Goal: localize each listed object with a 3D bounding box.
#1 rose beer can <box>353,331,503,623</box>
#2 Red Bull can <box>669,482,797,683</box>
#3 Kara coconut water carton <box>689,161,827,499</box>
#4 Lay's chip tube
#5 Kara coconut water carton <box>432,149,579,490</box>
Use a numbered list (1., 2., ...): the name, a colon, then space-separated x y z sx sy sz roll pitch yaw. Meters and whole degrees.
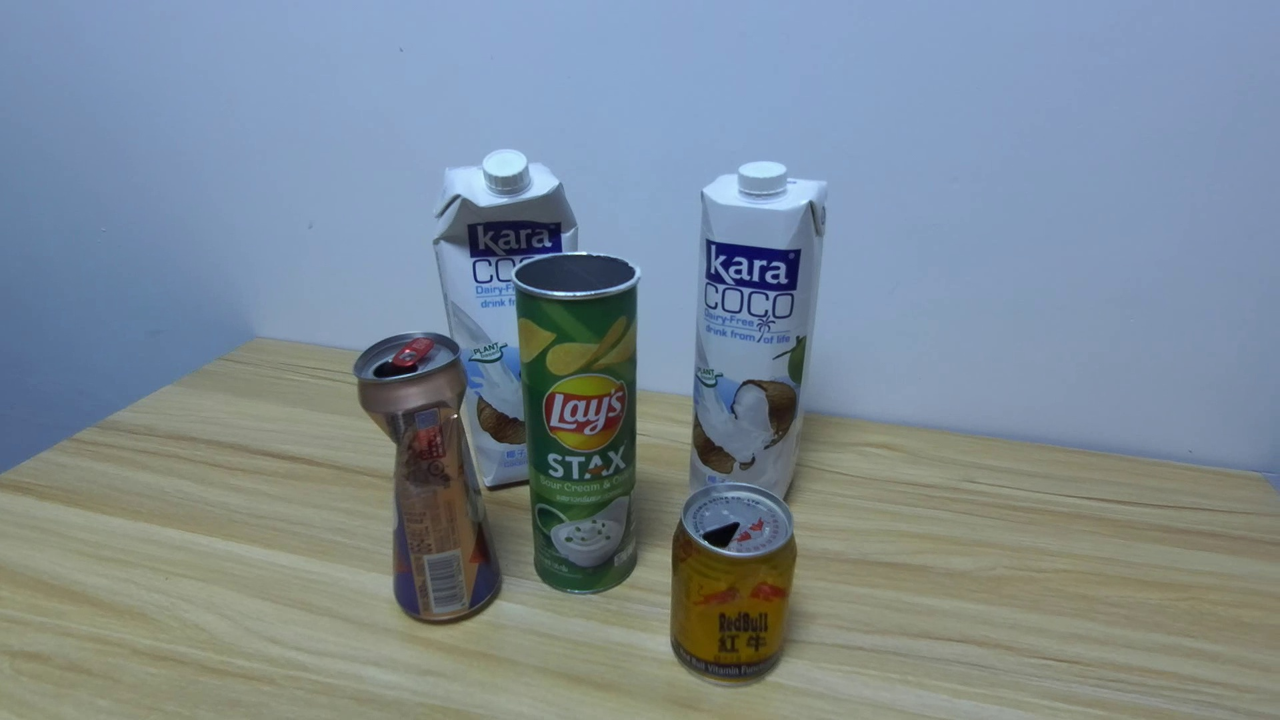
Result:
1. rose beer can: -0.123 0.072 0.413 0.065 0.167 0.075 -4 27 -3
2. Red Bull can: 0.050 0.122 0.389 0.069 0.092 0.069 1 27 0
3. Kara coconut water carton: 0.078 -0.011 0.486 0.077 0.245 0.075 10 27 21
4. Lay's chip tube: -0.035 0.041 0.428 0.071 0.202 0.071 0 26 0
5. Kara coconut water carton: -0.093 -0.031 0.528 0.100 0.244 0.071 -10 28 -17
